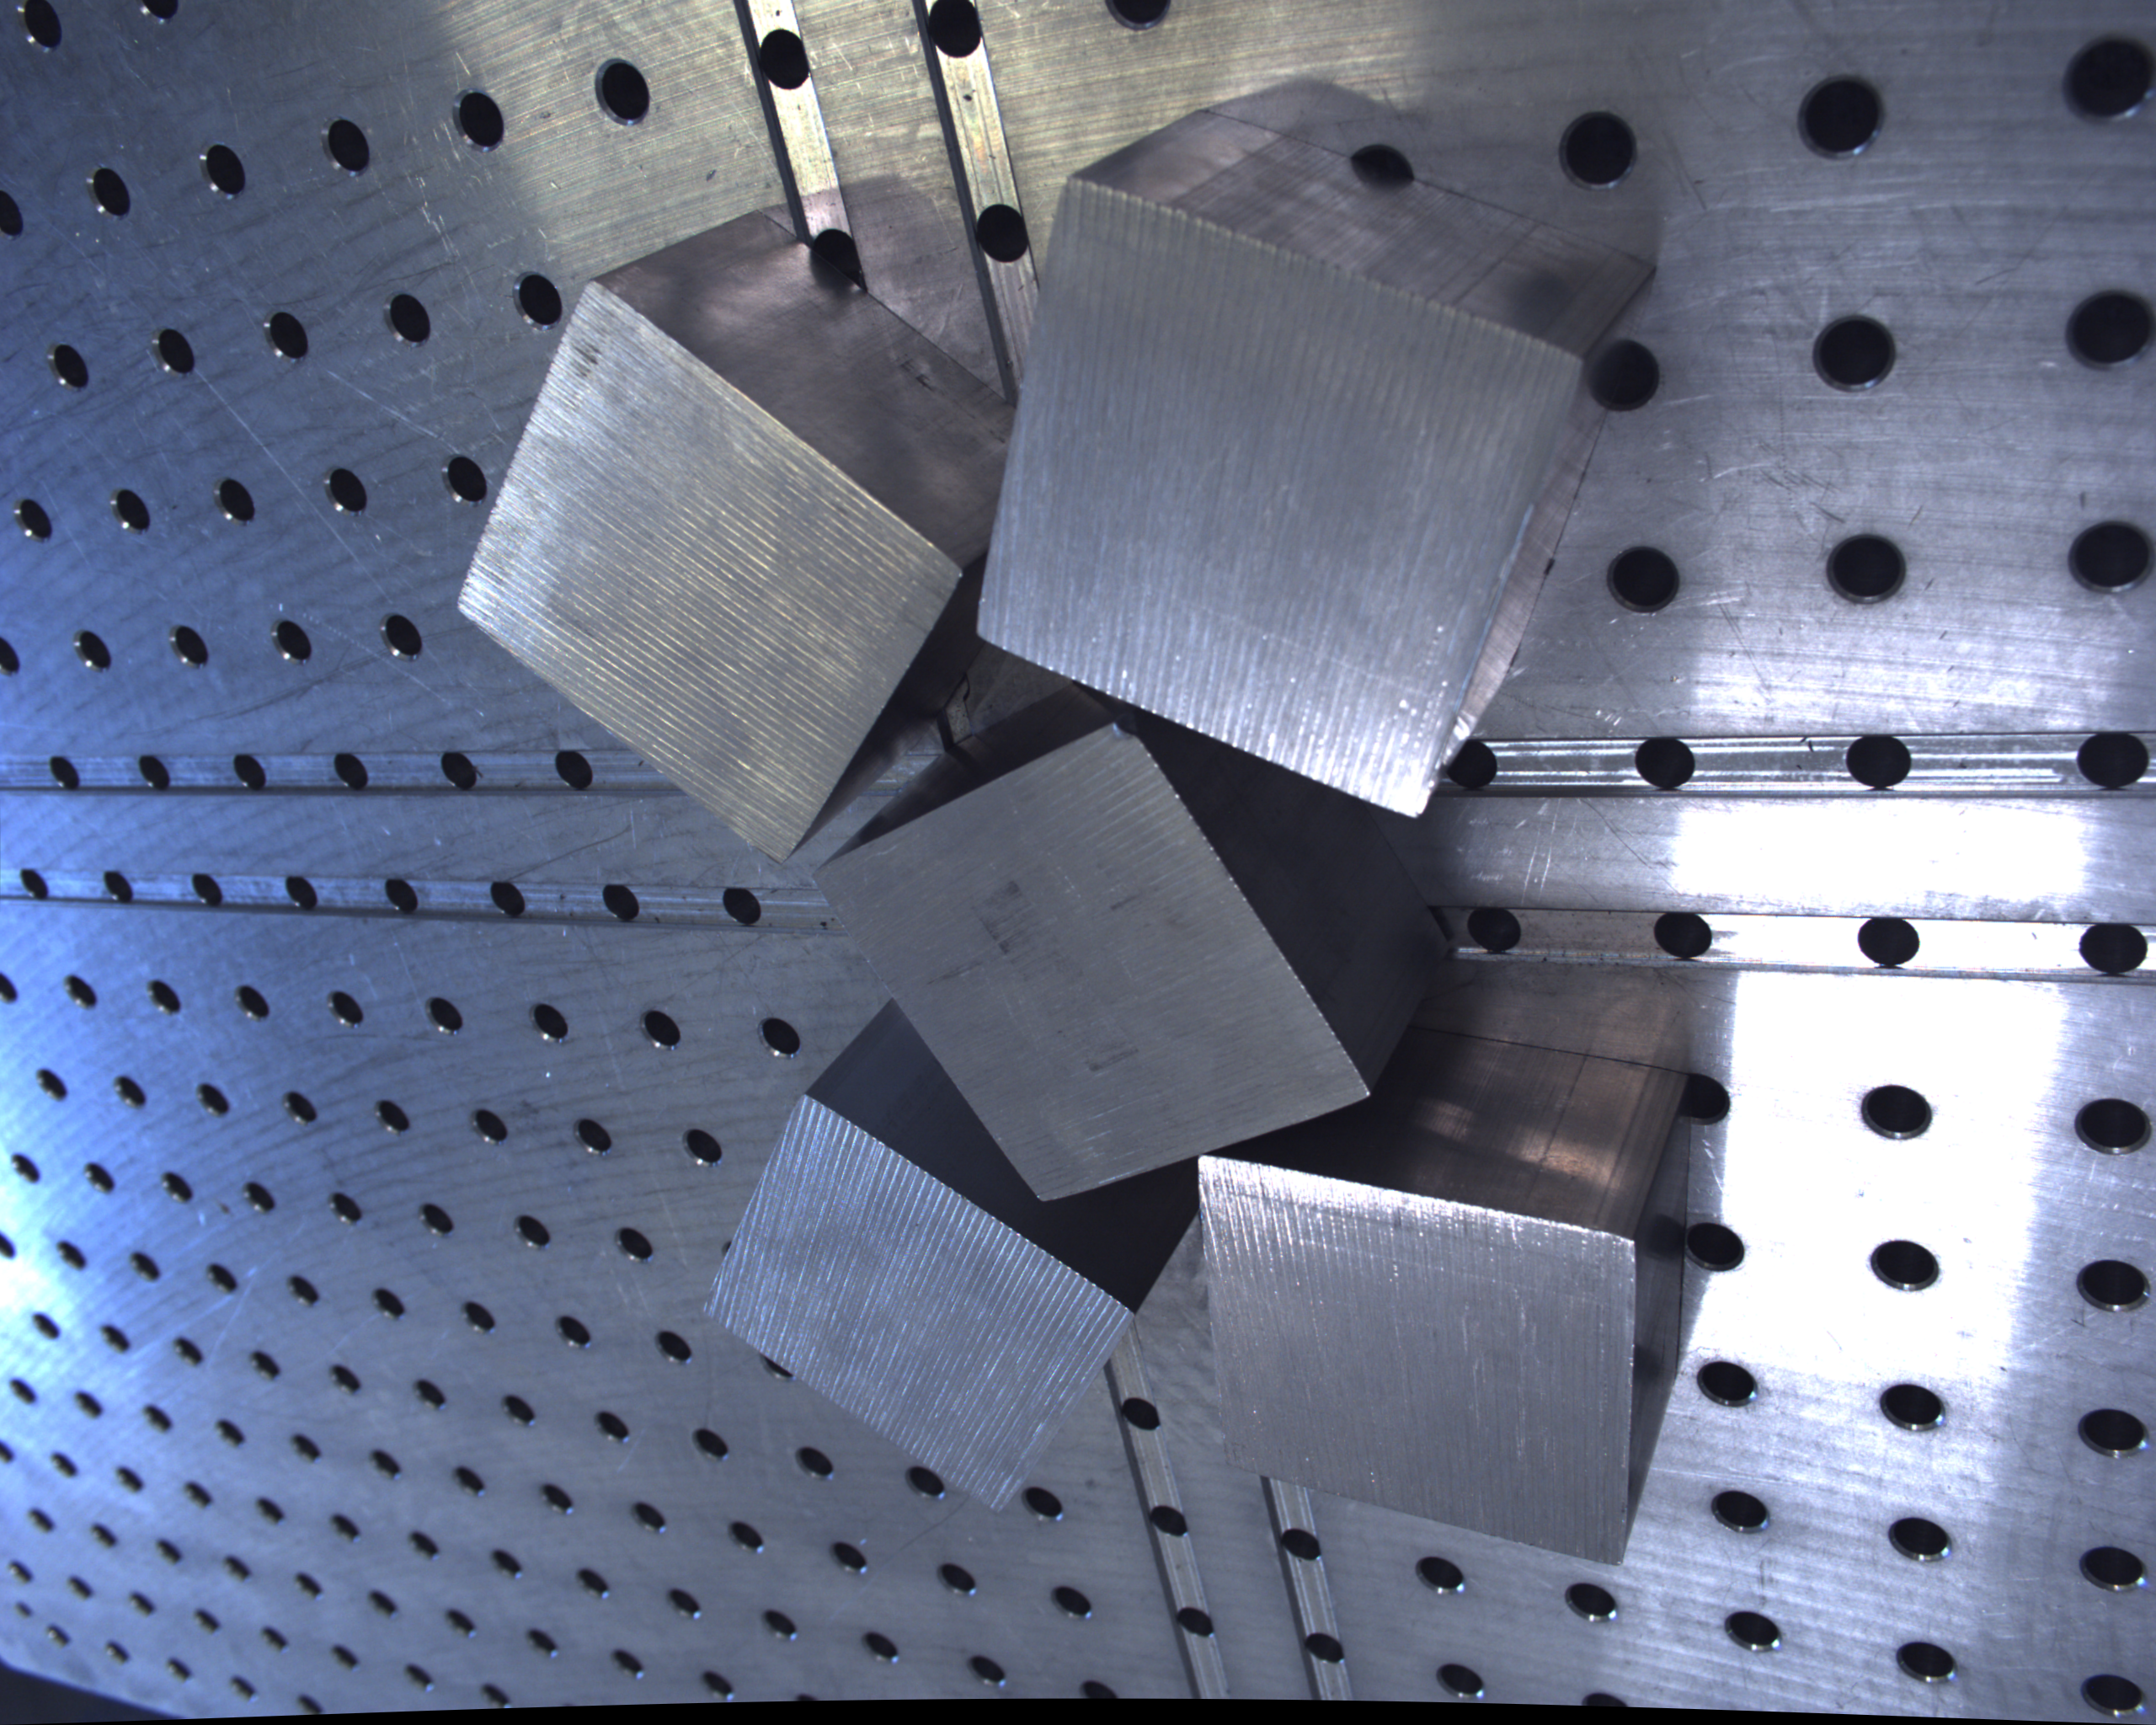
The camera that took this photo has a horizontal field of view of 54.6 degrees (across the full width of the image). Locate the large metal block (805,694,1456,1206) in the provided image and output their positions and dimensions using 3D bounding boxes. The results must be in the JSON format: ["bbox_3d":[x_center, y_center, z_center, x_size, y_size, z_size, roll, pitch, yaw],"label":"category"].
[{"bbox_3d":[0.011,0.010,0.395,0.080,0.050,0.080,-25,105,37],"label":"large metal block"}]

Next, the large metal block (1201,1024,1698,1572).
[{"bbox_3d":[0.073,0.081,0.407,0.080,0.050,0.080,8,122,23],"label":"large metal block"}]

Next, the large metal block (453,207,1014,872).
[{"bbox_3d":[-0.058,-0.060,0.389,0.080,0.050,0.080,39,130,2],"label":"large metal block"}]

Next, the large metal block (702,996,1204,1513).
[{"bbox_3d":[-0.026,0.082,0.458,0.080,0.050,0.080,33,129,7],"label":"large metal block"}]

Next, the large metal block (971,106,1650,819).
[{"bbox_3d":[0.035,-0.065,0.335,0.080,0.050,0.079,21,127,12],"label":"large metal block"}]
